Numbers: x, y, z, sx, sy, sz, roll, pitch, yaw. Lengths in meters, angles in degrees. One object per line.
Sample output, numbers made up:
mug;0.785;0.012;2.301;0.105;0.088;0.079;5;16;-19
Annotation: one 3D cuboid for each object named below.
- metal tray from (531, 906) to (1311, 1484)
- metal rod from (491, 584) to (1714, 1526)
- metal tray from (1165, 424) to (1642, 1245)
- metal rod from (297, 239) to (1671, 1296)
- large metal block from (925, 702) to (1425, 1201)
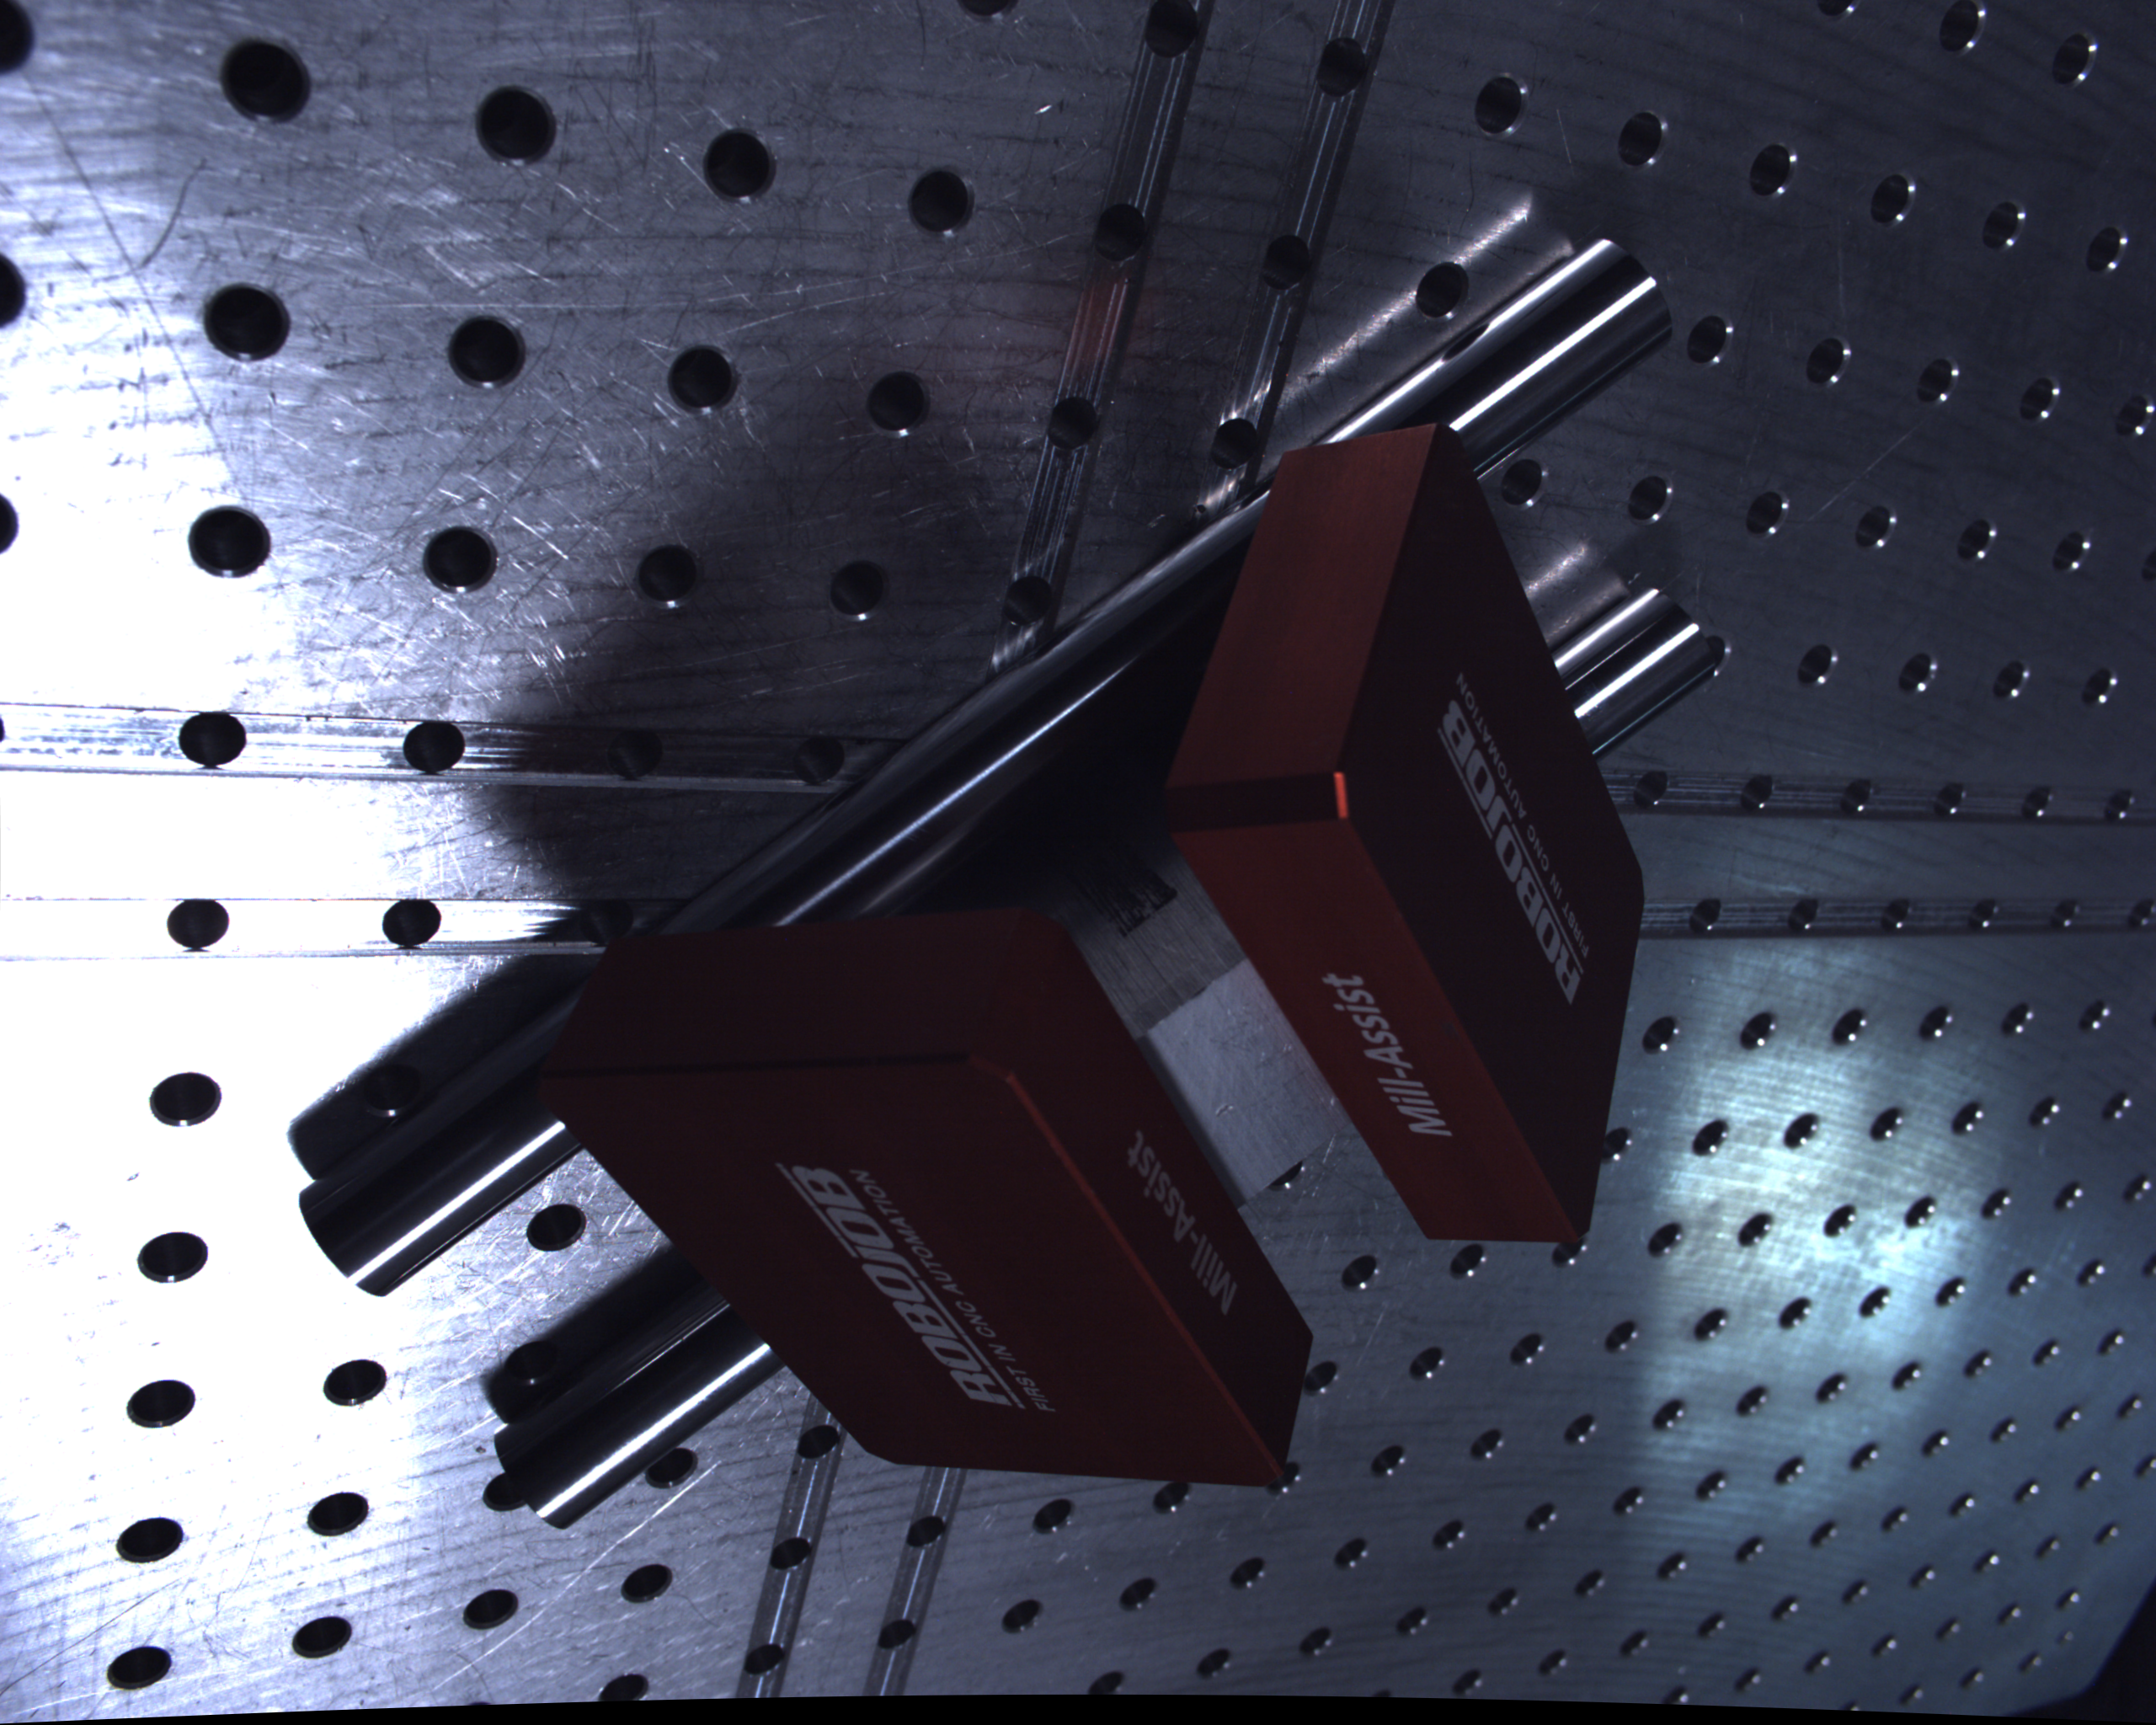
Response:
metal tray;-0.023;0.063;0.369;0.090;0.030;0.130;-5;135;27
metal rod;0.008;0.038;0.441;0.301;0.025;0.025;-36;130;-5
metal tray;0.065;-0.001;0.377;0.130;0.030;0.090;56;42;-39
metal rod;-0.014;-0.020;0.393;0.301;0.025;0.025;-37;130;-4
large metal block;0.016;0.017;0.396;0.080;0.080;0.050;-36;130;-5
